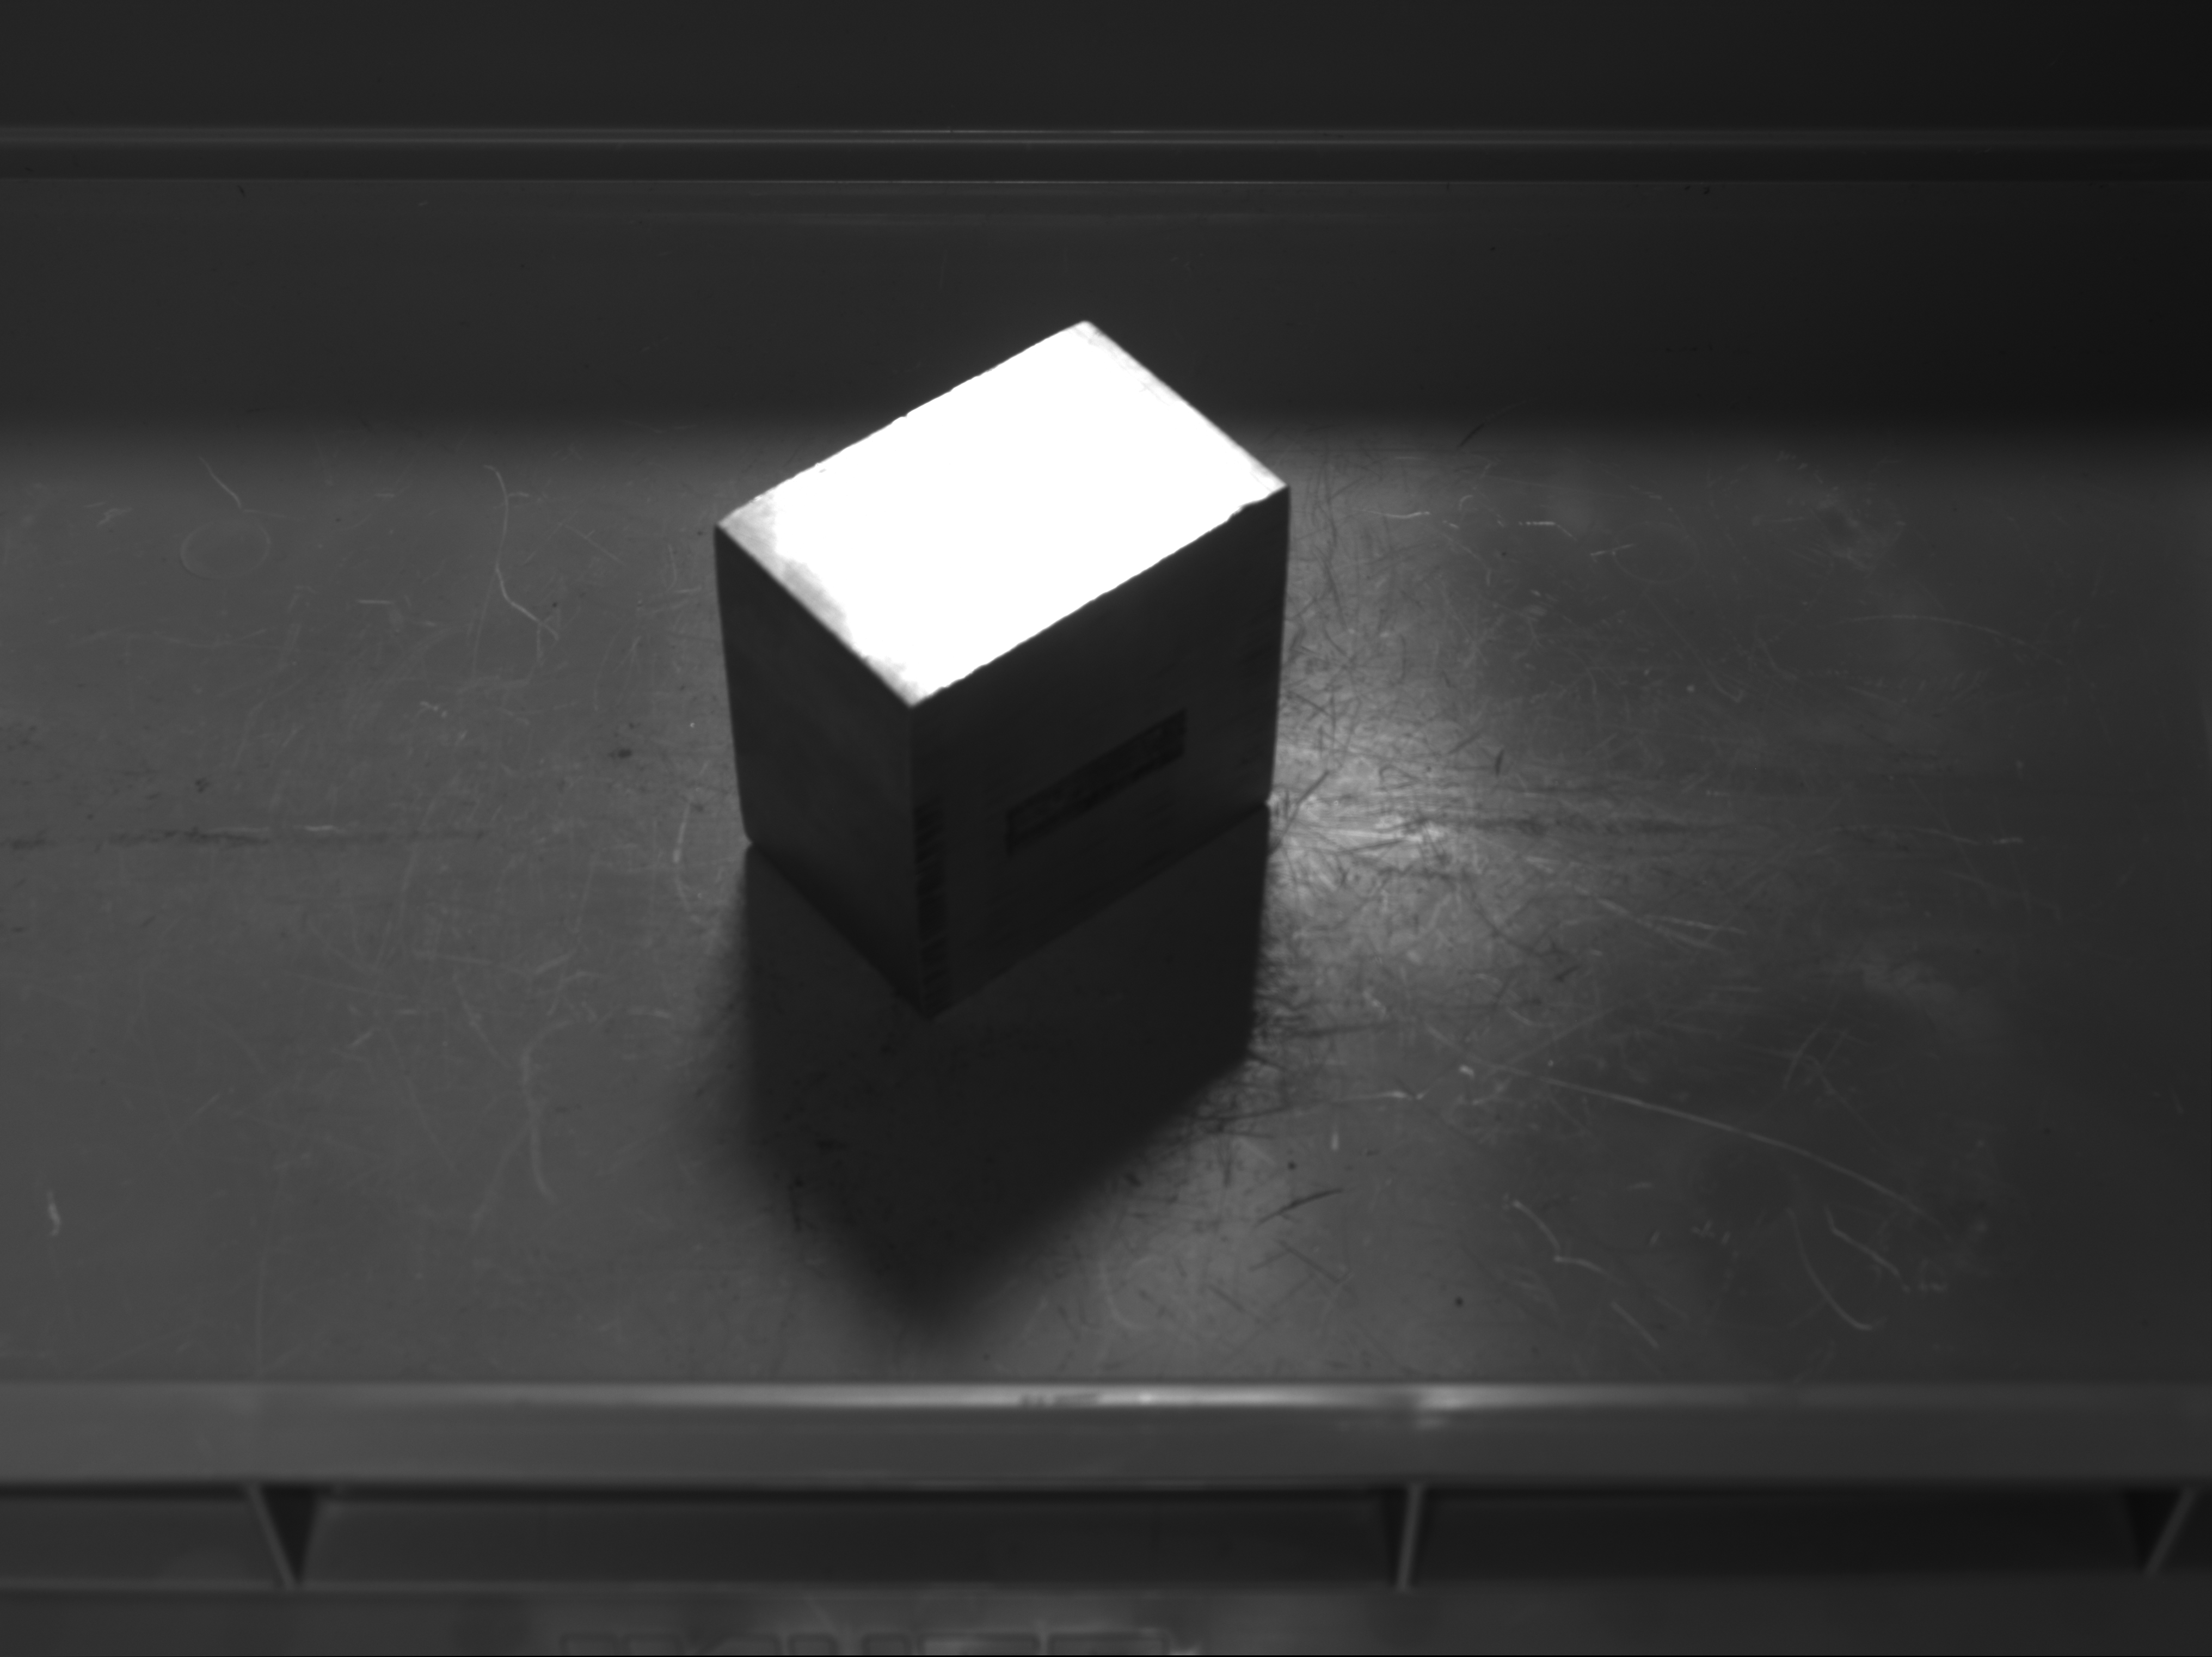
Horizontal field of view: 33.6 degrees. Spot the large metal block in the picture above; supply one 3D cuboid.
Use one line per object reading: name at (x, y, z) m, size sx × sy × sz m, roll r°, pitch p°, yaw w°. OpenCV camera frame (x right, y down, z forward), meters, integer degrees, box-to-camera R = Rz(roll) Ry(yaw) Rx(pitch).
large metal block at (-0.014, -0.028, 0.626) m, size 0.080 × 0.080 × 0.050 m, roll -32°, pitch 57°, yaw -24°
